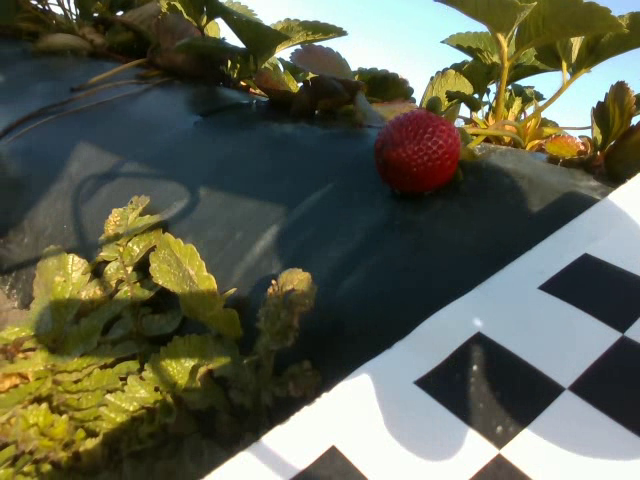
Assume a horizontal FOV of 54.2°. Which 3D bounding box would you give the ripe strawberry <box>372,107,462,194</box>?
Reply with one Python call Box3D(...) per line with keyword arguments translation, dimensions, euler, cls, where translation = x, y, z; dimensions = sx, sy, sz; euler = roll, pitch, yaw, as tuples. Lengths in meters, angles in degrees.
Box3D(translation=(0.035, -0.034, 0.239), dimensions=(0.040, 0.037, 0.044), euler=(16, 27, 26), cls="ripe strawberry")
